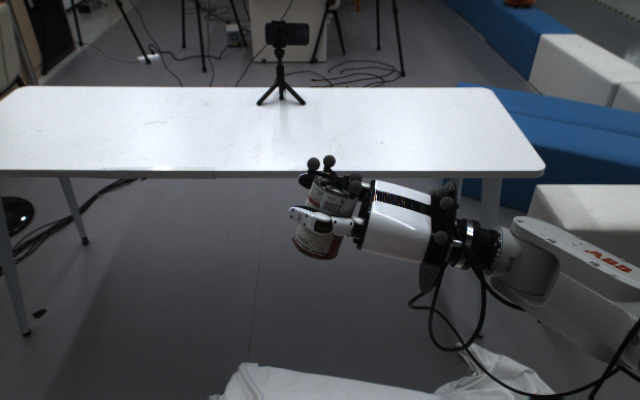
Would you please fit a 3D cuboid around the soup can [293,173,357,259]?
[{"bbox_3d":[0.009,0.023,0.671,0.067,0.101,0.067,17,21,-7],"label":"soup can"}]
